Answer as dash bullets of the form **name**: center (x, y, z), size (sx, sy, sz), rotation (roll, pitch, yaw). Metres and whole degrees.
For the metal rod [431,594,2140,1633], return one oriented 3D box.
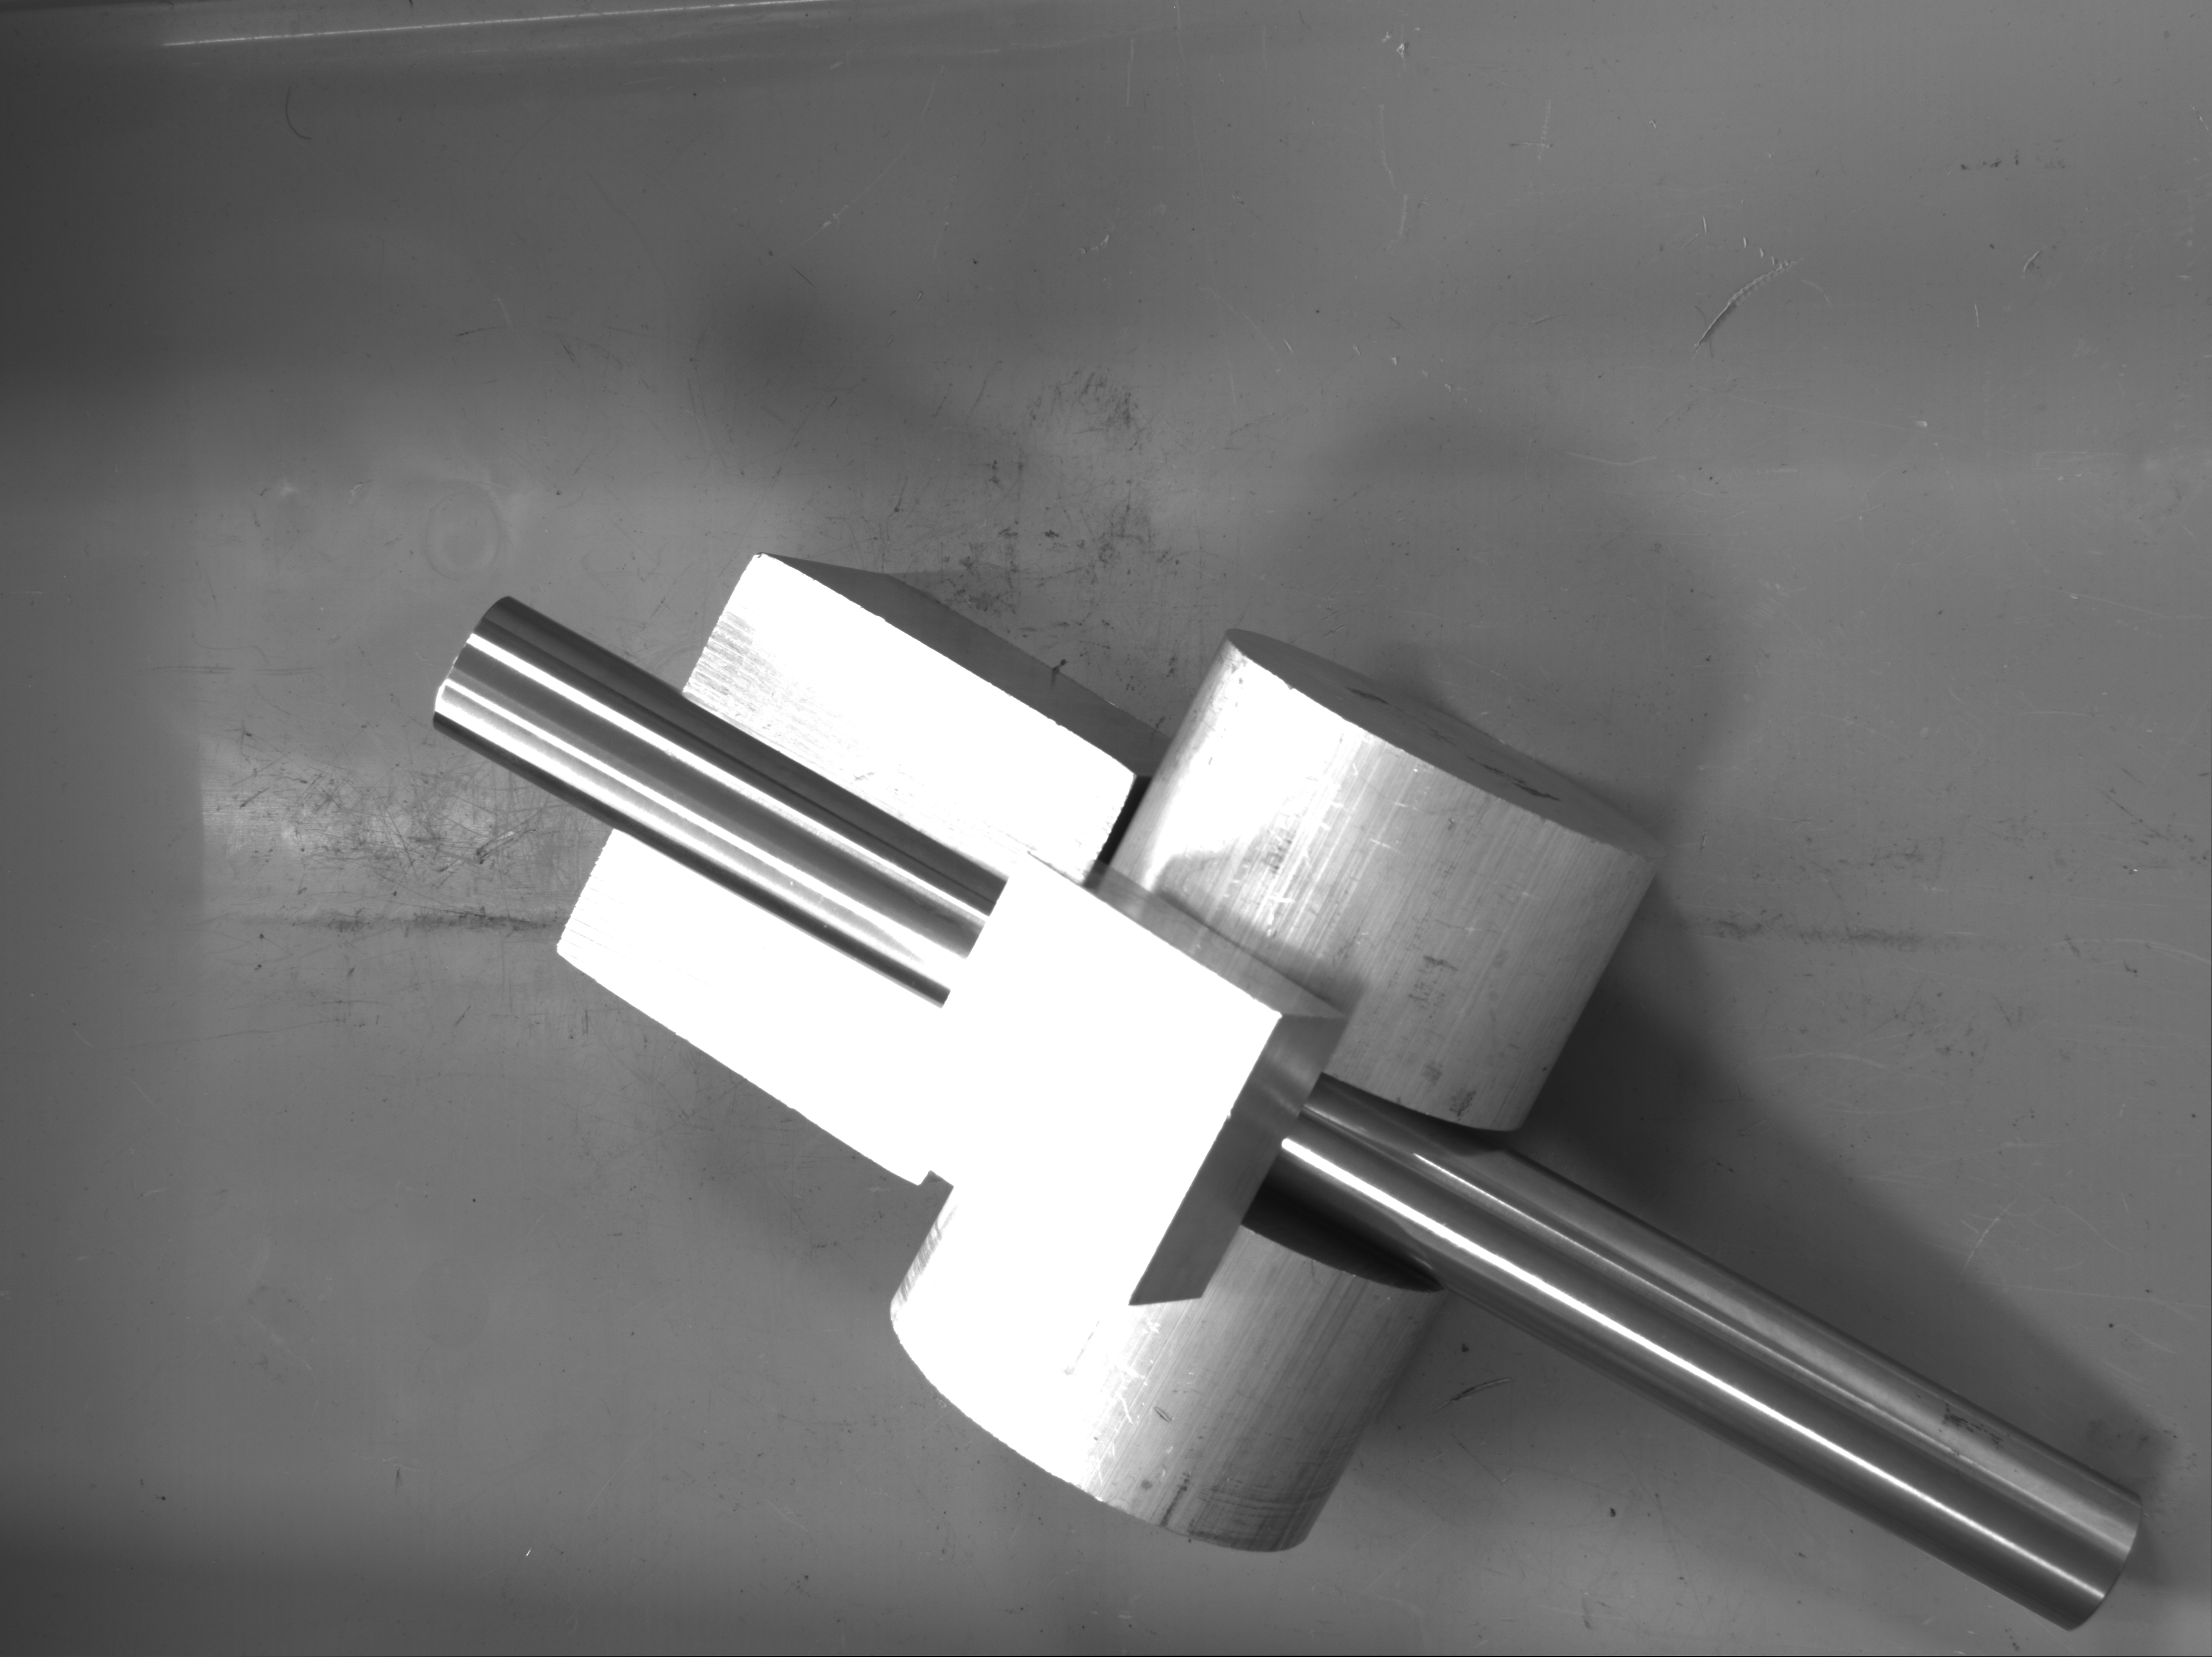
- **metal rod**: center (0.028, 0.045, 0.593), size (0.300, 0.025, 0.025), rotation (29, 100, 2)

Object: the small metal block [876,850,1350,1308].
- **small metal block**: center (0.001, 0.038, 0.561), size (0.050, 0.025, 0.050), rotation (32, 101, 26)

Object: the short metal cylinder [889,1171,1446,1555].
- **short metal cylinder**: center (0.011, 0.077, 0.612), size (0.080, 0.080, 0.050), rotation (32, 100, 17)

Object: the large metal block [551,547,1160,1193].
- **large metal block**: center (-0.037, 0.007, 0.643), size (0.080, 0.050, 0.080), rotation (31, 100, 17)

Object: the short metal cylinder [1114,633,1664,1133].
- **short metal cylinder**: center (0.044, 0.008, 0.601), size (0.080, 0.080, 0.050), rotation (29, 100, 18)
